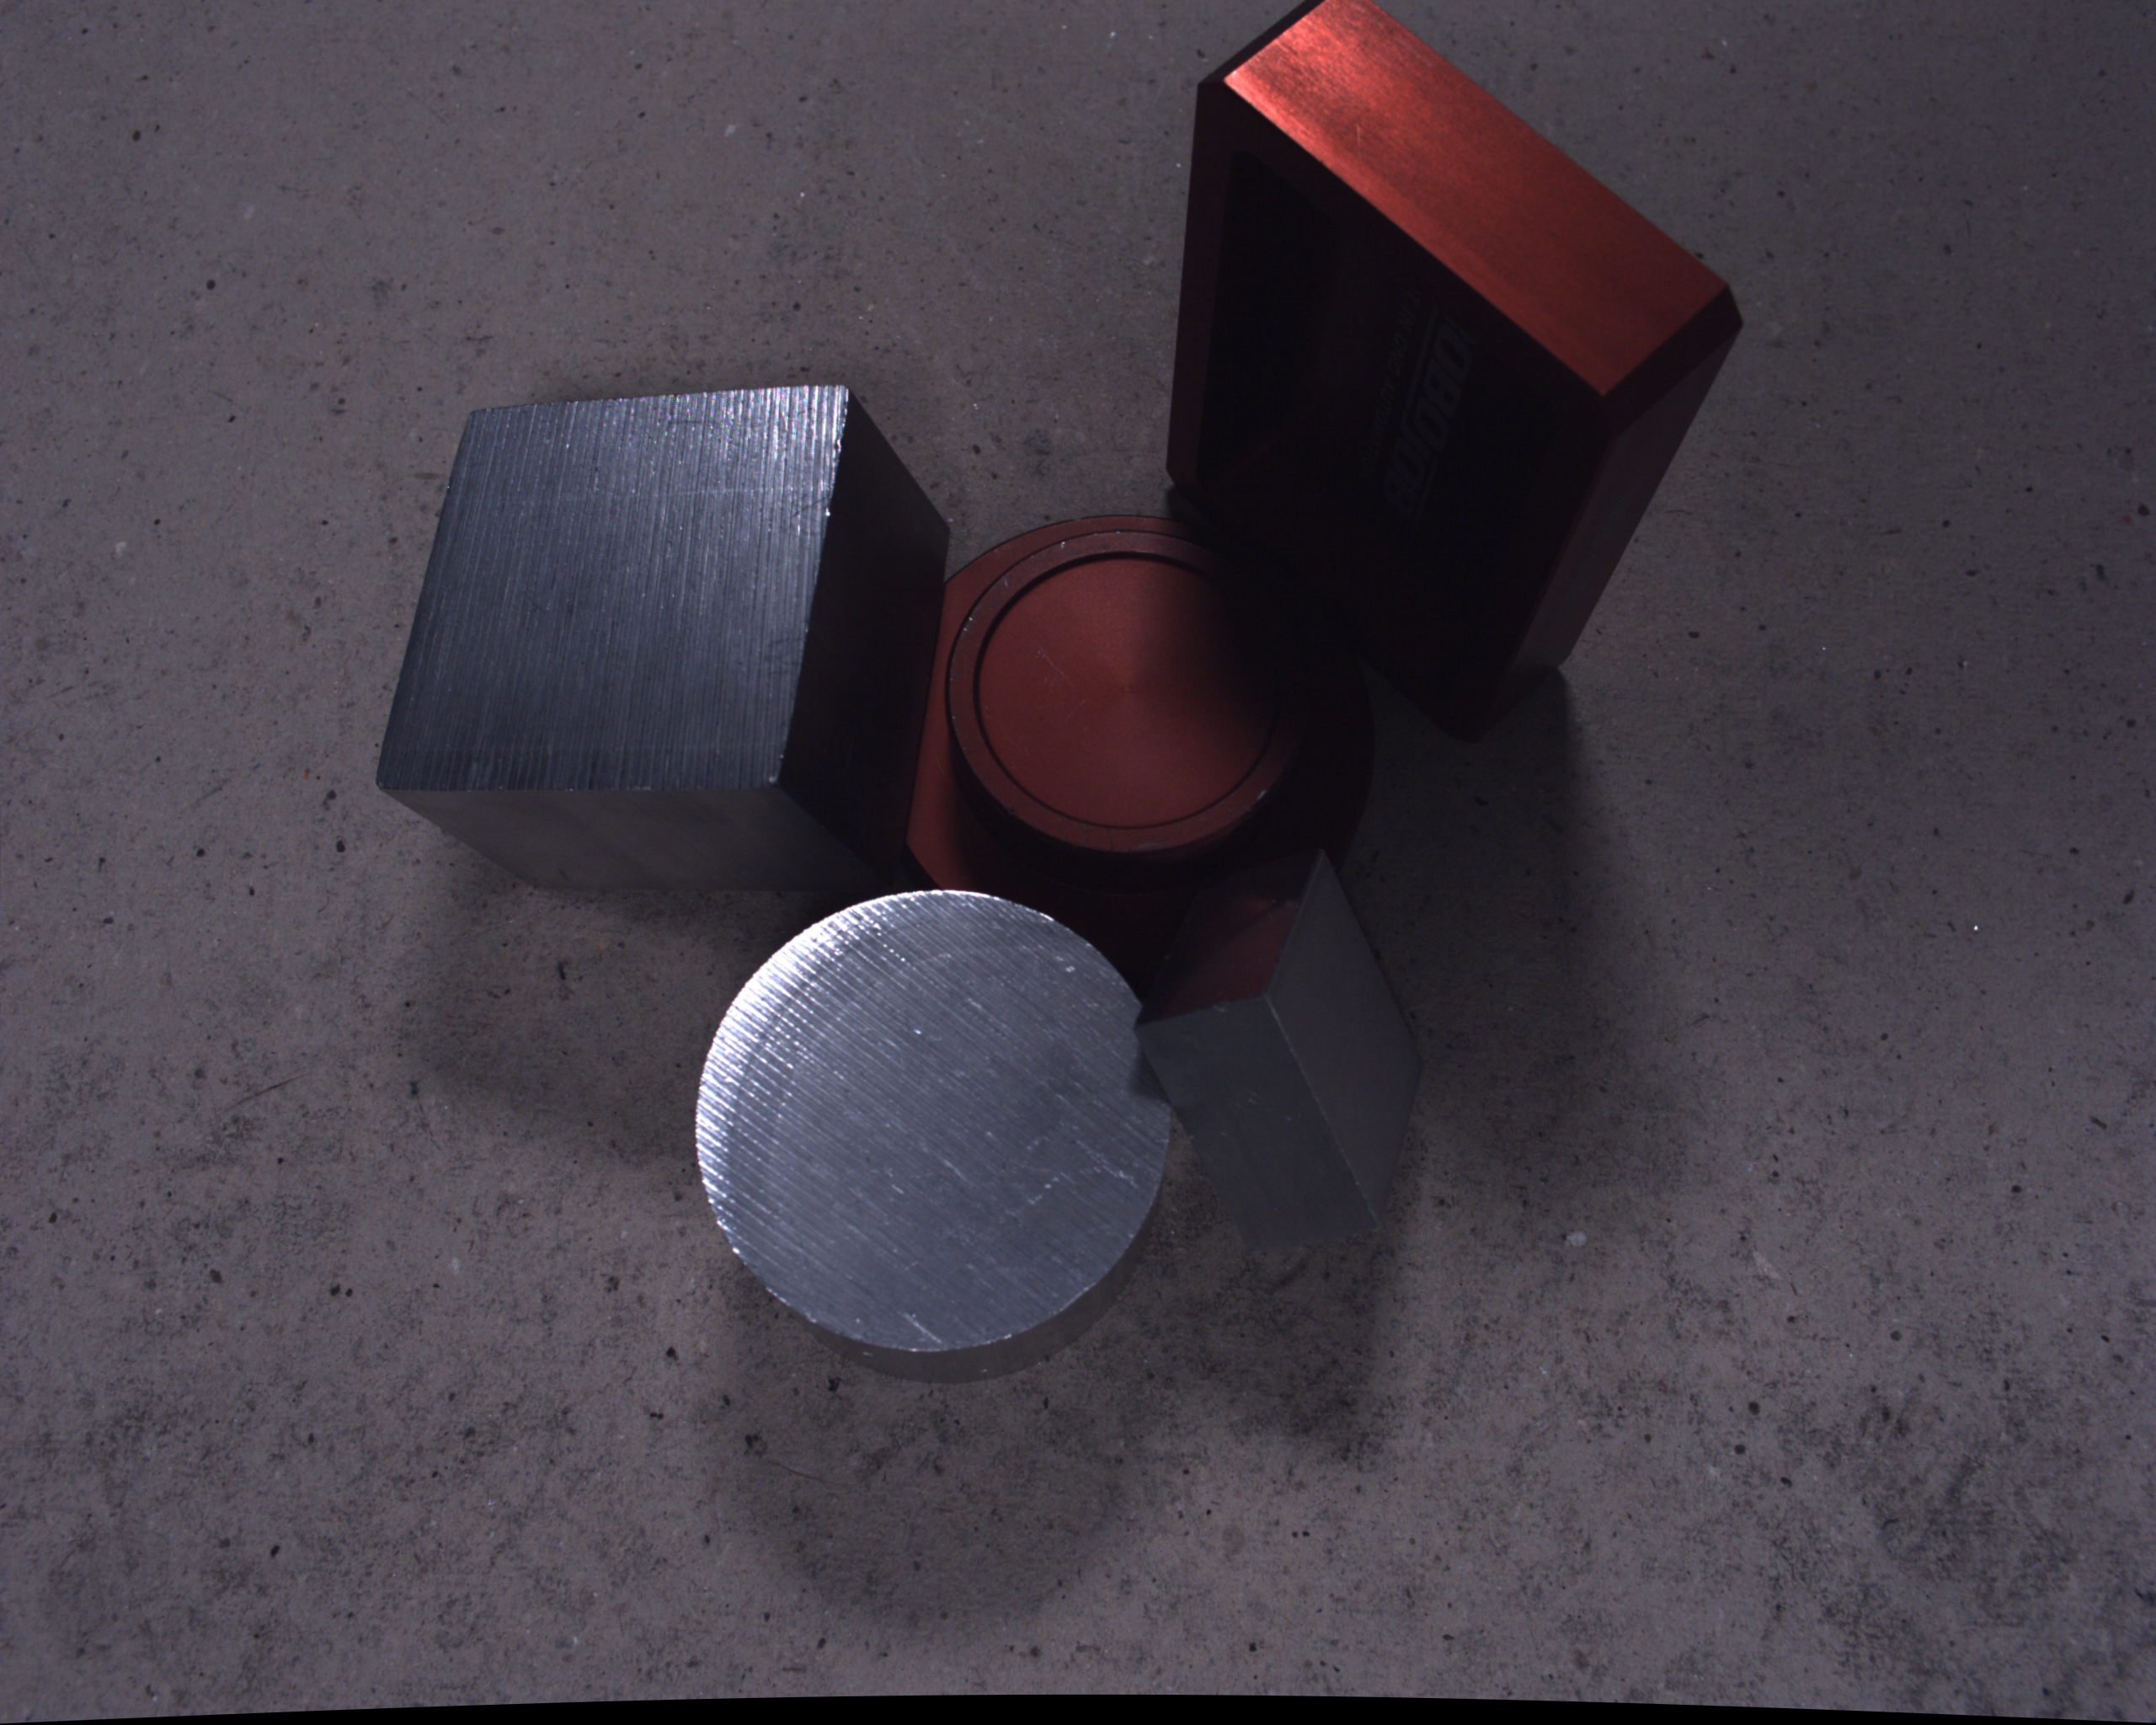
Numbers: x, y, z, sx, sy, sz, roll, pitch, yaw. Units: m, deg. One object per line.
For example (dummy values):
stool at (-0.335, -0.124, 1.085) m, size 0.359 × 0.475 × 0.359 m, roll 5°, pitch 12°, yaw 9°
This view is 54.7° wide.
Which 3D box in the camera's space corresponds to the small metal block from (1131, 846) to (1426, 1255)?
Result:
small metal block at (0.037, 0.033, 0.373) m, size 0.025 × 0.050 × 0.050 m, roll -17°, pitch 112°, yaw 26°

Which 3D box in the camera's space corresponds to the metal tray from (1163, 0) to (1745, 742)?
metal tray at (0.060, -0.084, 0.384) m, size 0.030 × 0.130 × 0.090 m, roll -43°, pitch 76°, yaw -14°

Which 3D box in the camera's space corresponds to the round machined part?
round machined part at (0.009, -0.026, 0.411) m, size 0.099 × 0.042 × 0.098 m, roll 0°, pitch 70°, yaw -1°

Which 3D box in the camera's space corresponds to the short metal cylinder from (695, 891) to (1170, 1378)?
short metal cylinder at (-0.025, 0.051, 0.378) m, size 0.081 × 0.050 × 0.080 m, roll 0°, pitch 70°, yaw 0°

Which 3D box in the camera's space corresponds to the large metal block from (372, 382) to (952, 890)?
large metal block at (-0.076, -0.041, 0.397) m, size 0.080 × 0.050 × 0.080 m, roll 1°, pitch 69°, yaw 18°
